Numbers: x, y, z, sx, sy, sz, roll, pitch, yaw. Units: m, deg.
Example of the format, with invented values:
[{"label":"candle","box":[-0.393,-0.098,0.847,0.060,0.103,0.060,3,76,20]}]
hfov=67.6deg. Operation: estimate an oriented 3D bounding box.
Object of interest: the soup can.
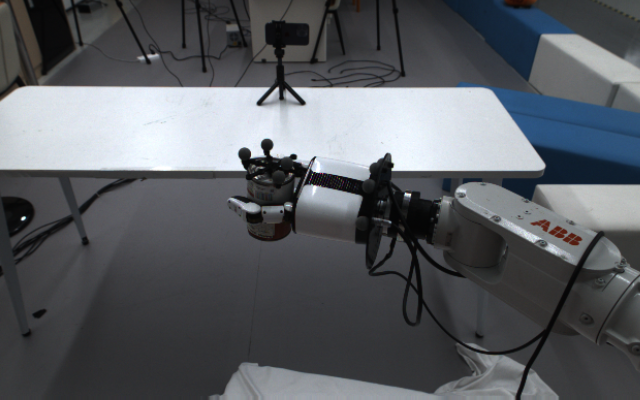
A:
[{"label":"soup can","box":[-0.070,0.000,0.688,0.067,0.101,0.067,5,37,-3]}]
